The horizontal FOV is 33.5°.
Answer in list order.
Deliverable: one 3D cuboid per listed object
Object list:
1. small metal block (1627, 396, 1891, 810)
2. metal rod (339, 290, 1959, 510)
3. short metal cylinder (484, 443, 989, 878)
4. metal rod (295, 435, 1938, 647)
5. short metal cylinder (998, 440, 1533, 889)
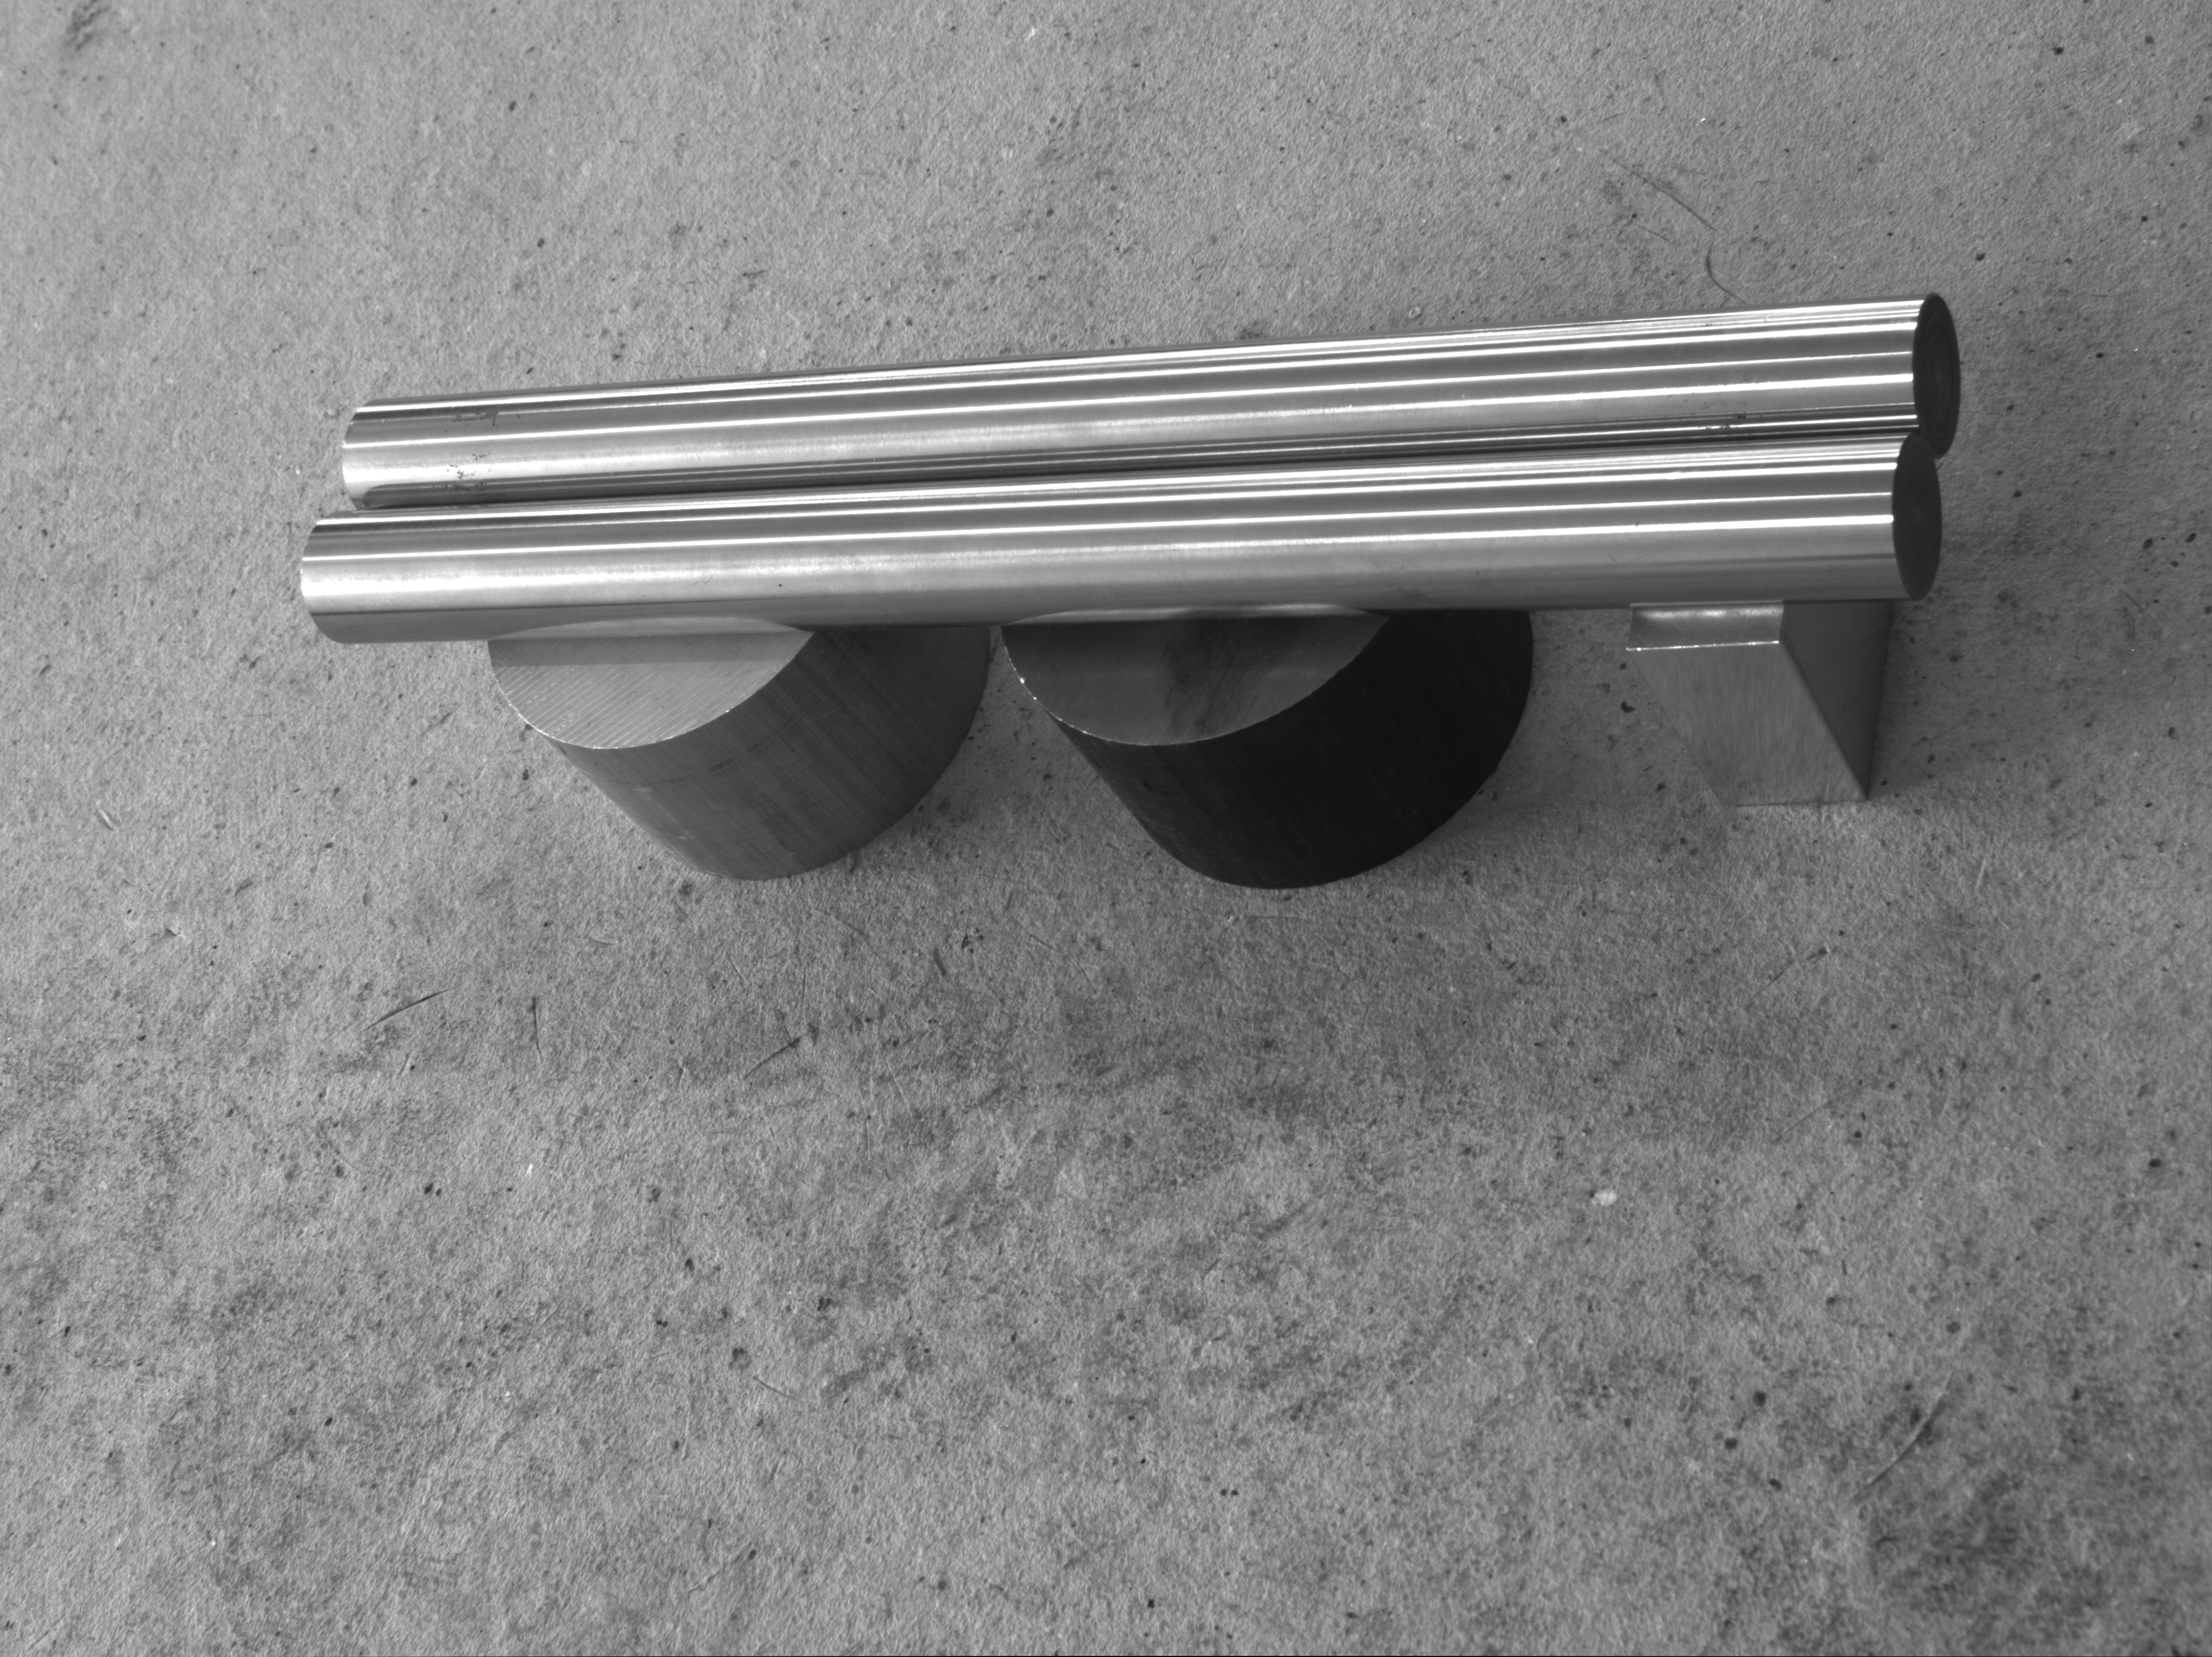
[{"bbox_3d":[0.108,-0.037,0.596,0.025,0.050,0.050,-1,60,28],"label":"small metal block"},{"bbox_3d":[-0.006,-0.069,0.626,0.299,0.025,0.025,0,62,29],"label":"metal rod"},{"bbox_3d":[-0.069,-0.038,0.689,0.080,0.050,0.080,-14,56,21],"label":"short metal cylinder"},{"bbox_3d":[-0.012,-0.046,0.615,0.299,0.025,0.025,0,62,29],"label":"metal rod"},{"bbox_3d":[0.028,-0.037,0.638,0.080,0.050,0.080,-14,56,21],"label":"short metal cylinder"}]
